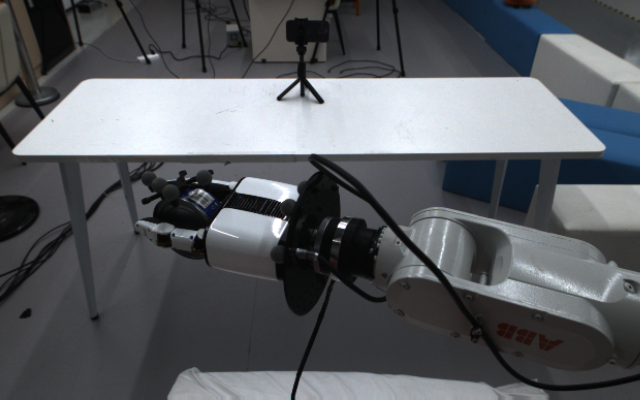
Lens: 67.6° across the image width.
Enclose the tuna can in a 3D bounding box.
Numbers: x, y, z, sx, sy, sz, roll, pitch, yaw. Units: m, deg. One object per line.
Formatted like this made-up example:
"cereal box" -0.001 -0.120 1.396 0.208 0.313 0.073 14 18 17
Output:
"tuna can" -0.149 0.027 0.574 0.085 0.085 0.034 14 33 17
